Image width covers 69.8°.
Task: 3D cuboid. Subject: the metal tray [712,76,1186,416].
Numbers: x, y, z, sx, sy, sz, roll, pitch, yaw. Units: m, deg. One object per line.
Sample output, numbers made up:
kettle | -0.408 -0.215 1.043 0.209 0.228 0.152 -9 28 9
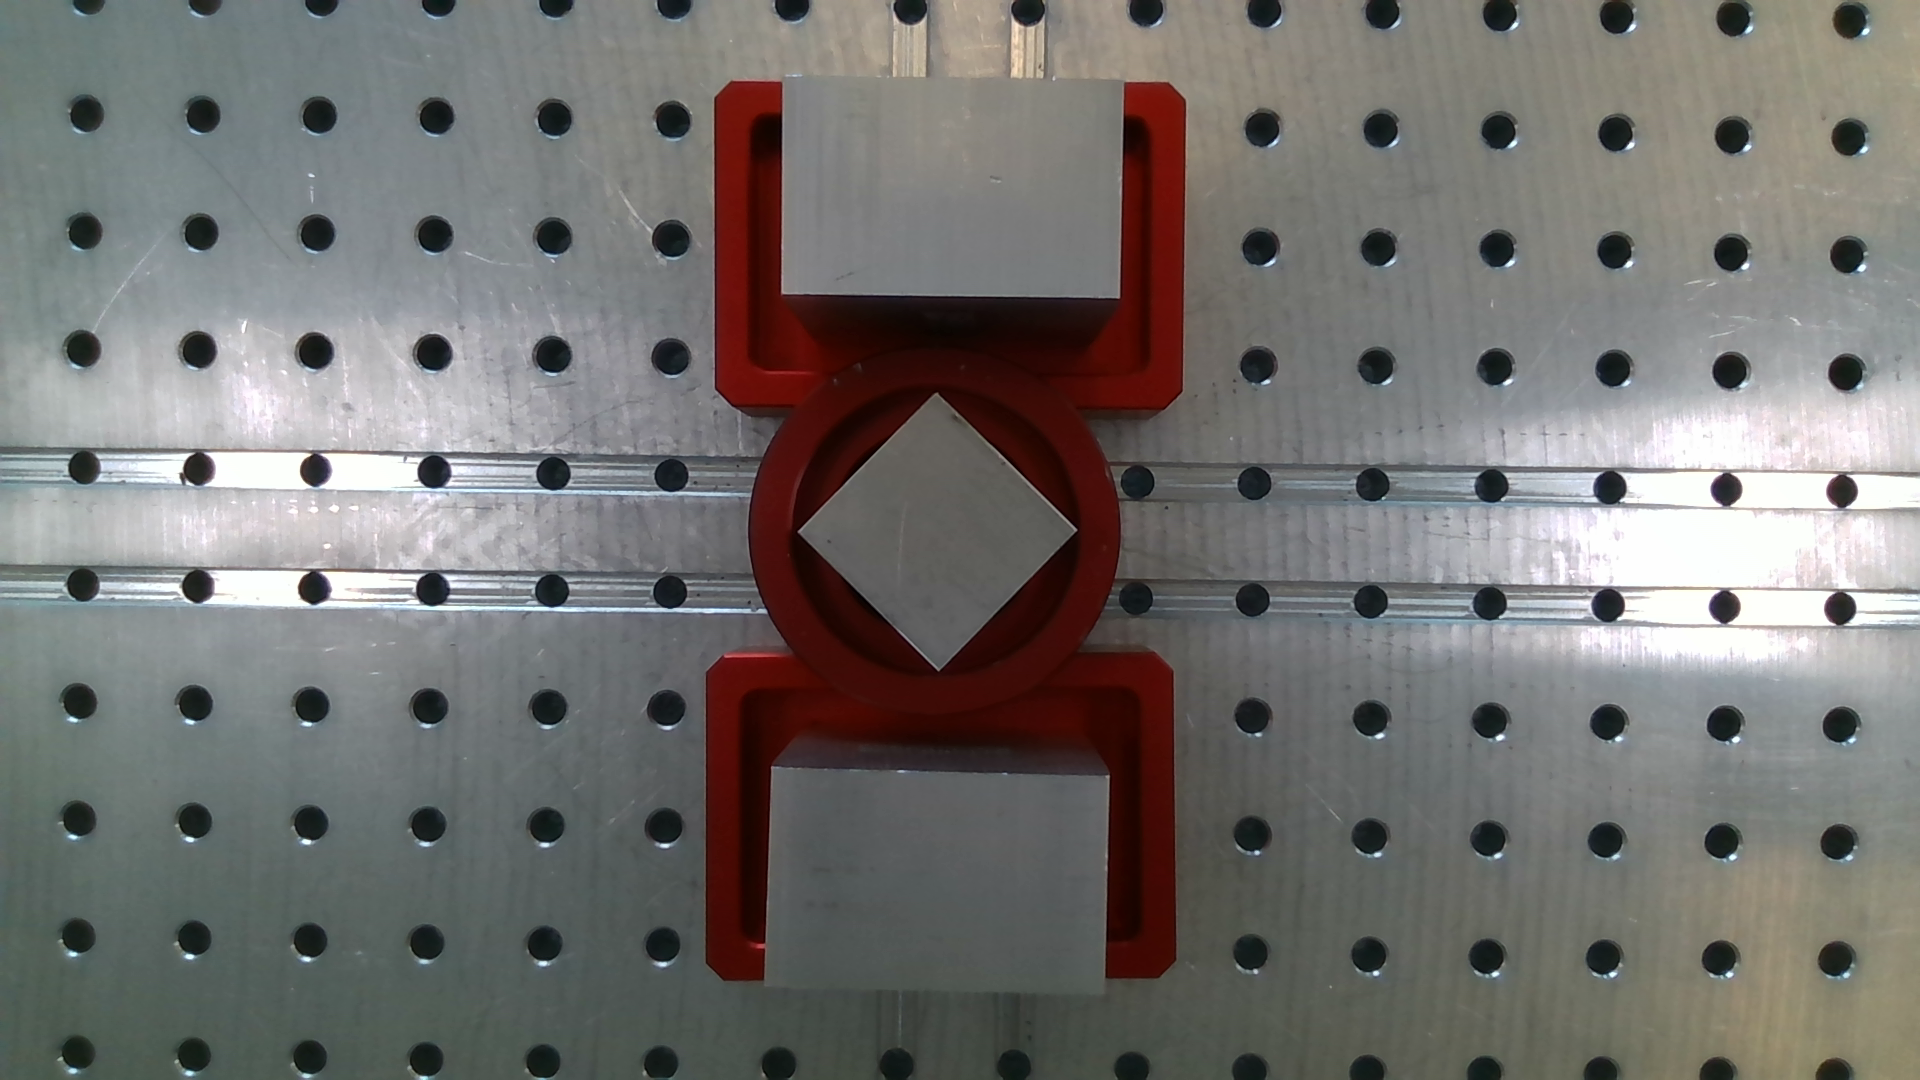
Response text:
metal tray | -0.003 -0.082 0.394 0.130 0.030 0.090 1 90 0

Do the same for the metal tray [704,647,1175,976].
metal tray | -0.006 0.075 0.395 0.130 0.030 0.090 0 90 0

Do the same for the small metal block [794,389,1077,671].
small metal block | -0.006 -0.003 0.357 0.050 0.025 0.050 44 90 0

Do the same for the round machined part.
round machined part | -0.007 -0.003 0.380 0.098 0.042 0.098 0 90 0

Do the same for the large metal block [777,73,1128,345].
large metal block | -0.002 -0.082 0.357 0.080 0.080 0.050 1 90 0

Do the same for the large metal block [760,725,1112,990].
large metal block | -0.005 0.078 0.357 0.080 0.080 0.050 1 90 0
